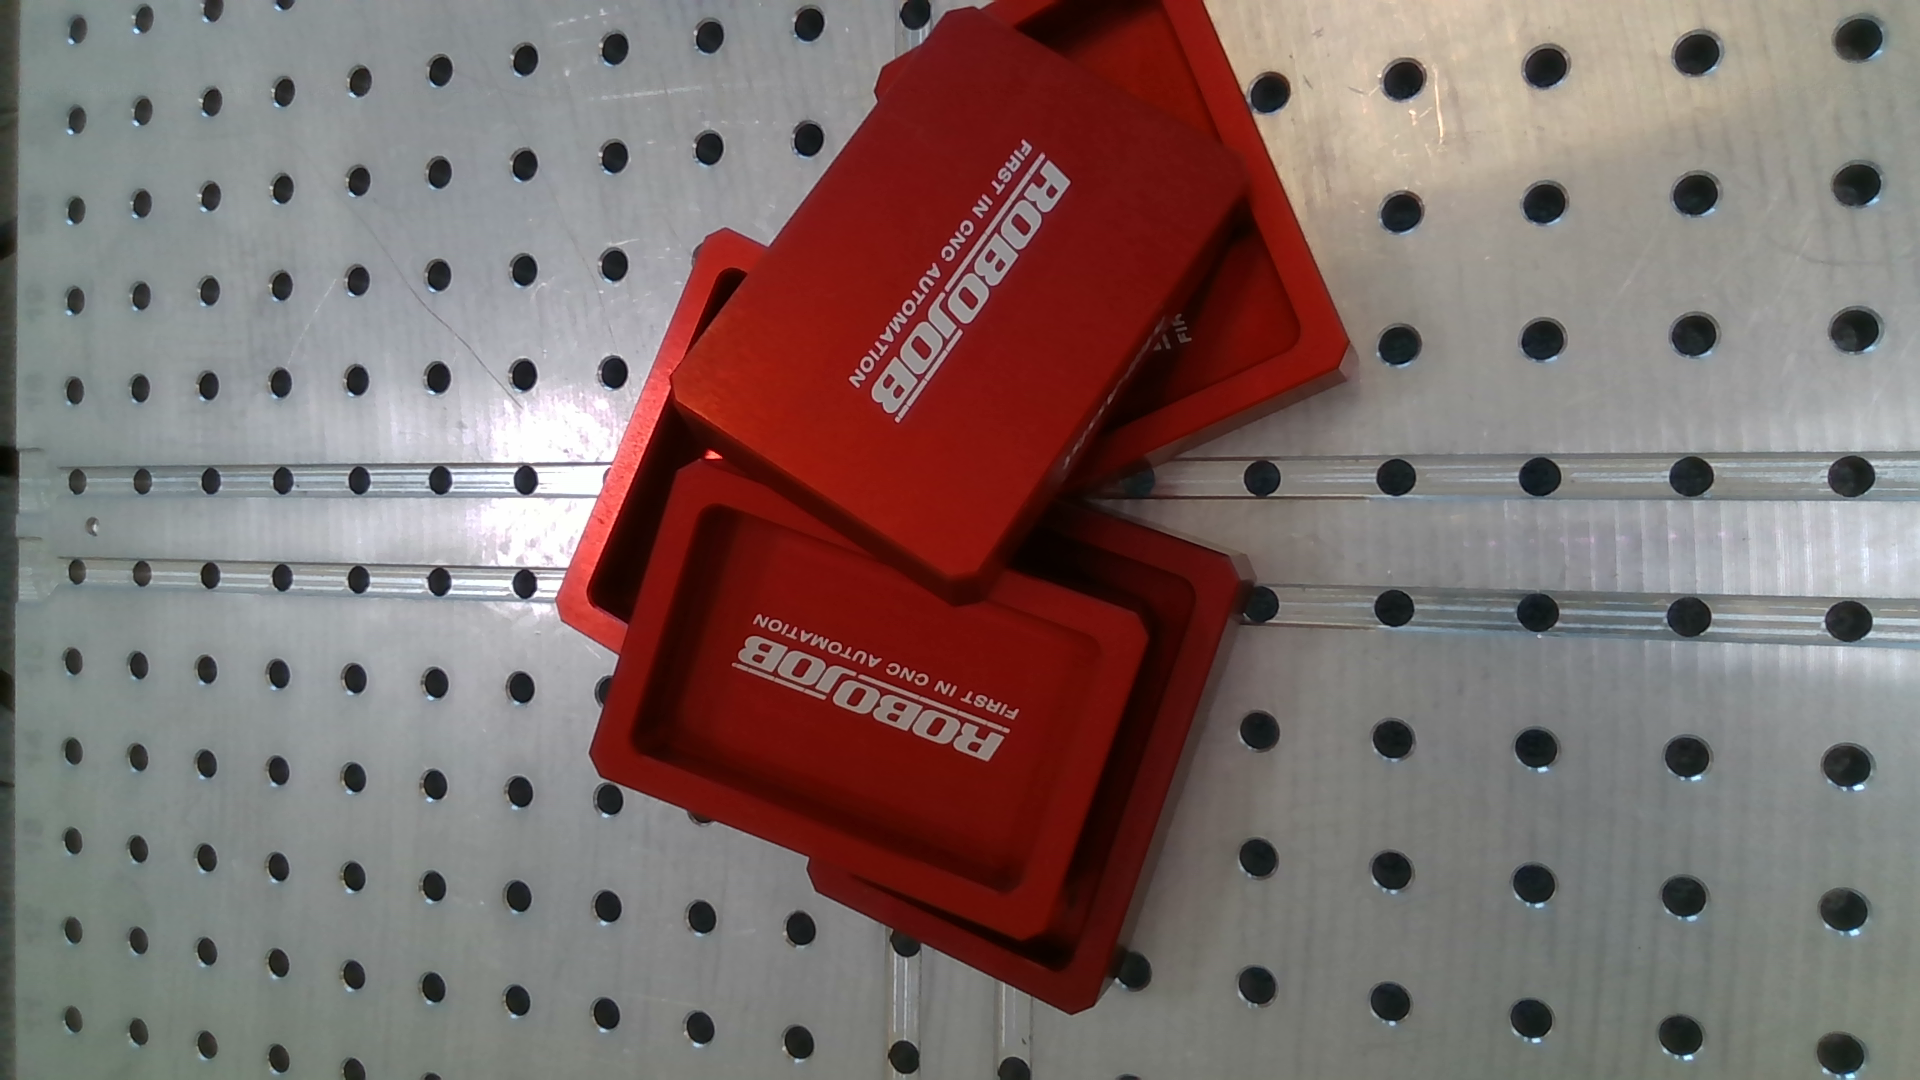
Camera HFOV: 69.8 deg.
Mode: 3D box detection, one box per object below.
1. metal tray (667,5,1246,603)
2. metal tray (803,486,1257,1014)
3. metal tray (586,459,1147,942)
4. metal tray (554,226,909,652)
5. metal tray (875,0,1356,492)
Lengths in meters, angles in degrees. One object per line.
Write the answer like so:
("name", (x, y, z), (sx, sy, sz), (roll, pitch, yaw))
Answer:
("metal tray", (0.001, -0.061, 0.350), (0.090, 0.030, 0.130), (32, 79, 10))
("metal tray", (0.018, 0.052, 0.386), (0.090, 0.030, 0.130), (20, 96, 19))
("metal tray", (-0.025, 0.040, 0.370), (0.130, 0.030, 0.090), (20, 97, 7))
("metal tray", (-0.058, -0.016, 0.415), (0.090, 0.030, 0.130), (28, 99, 18))
("metal tray", (0.041, -0.088, 0.377), (0.090, 0.030, 0.130), (-24, 82, 18))
